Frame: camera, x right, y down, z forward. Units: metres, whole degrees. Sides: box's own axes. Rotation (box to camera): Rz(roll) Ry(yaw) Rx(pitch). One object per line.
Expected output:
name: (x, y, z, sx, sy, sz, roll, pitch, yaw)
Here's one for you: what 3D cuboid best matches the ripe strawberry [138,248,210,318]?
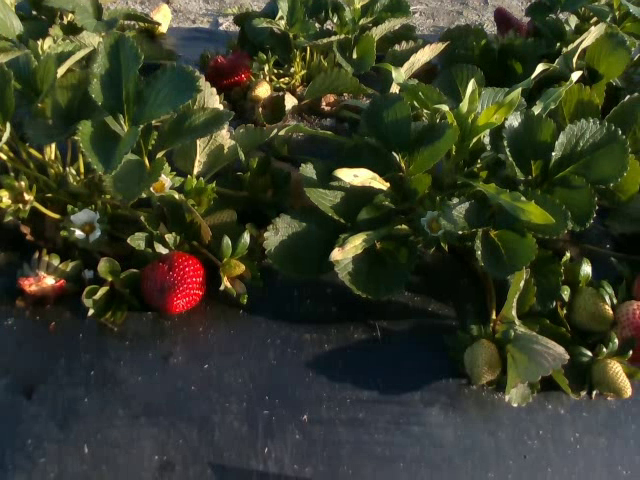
ripe strawberry: (-0.096, 0.032, 0.394, 0.052, 0.041, 0.052, -22, 24, -1)
